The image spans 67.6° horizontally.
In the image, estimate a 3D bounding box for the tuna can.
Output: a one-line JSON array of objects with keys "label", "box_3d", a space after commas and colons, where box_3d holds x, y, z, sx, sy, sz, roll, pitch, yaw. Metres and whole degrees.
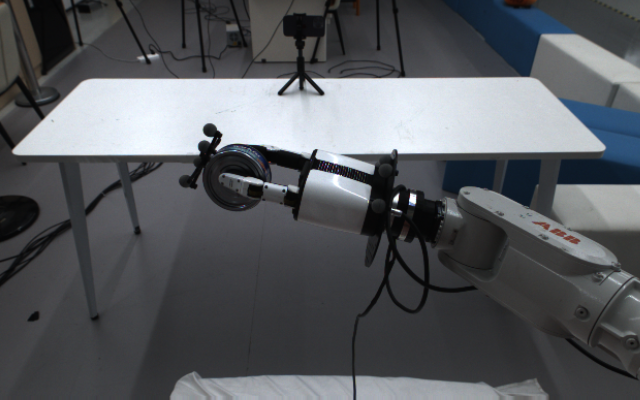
[{"label": "tuna can", "box_3d": [-0.106, -0.025, 0.635, 0.085, 0.085, 0.034, 3, 21, 2]}]
